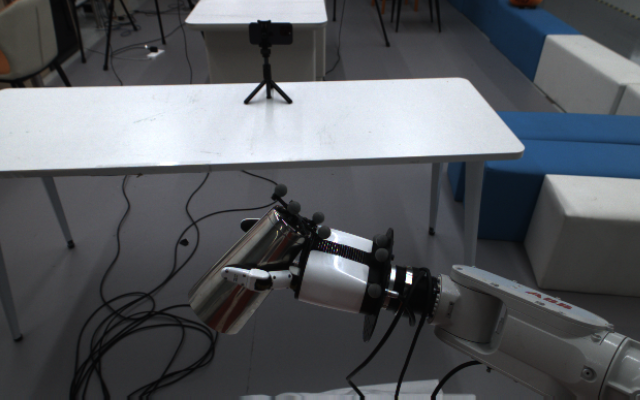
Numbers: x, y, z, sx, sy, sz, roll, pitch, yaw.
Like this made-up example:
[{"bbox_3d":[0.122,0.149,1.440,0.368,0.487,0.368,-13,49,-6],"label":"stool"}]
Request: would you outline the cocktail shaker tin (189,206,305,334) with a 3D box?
[{"bbox_3d":[-0.091,0.087,0.663,0.093,0.170,0.093,41,13,-12],"label":"cocktail shaker tin"}]
